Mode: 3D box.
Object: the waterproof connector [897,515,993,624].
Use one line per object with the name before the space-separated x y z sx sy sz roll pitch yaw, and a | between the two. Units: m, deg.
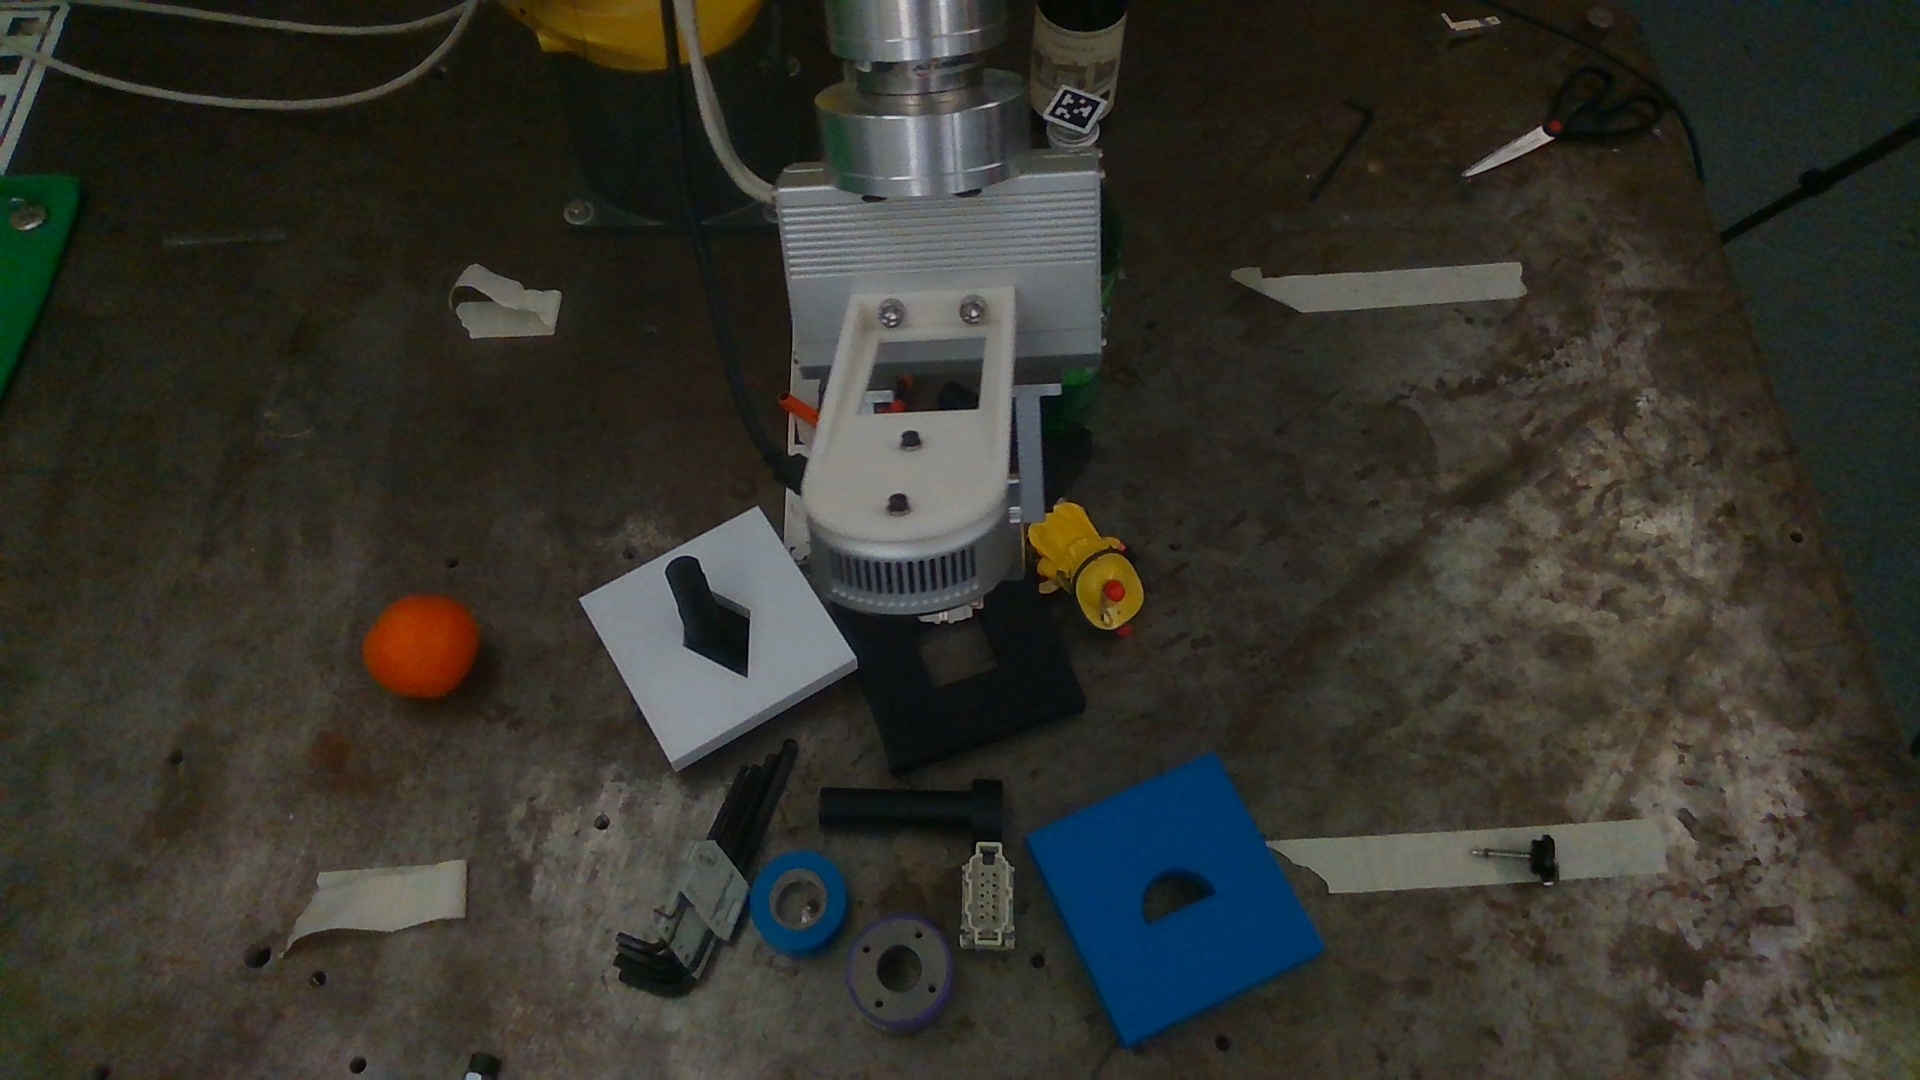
waterproof connector | -0.006 0.012 0.621 0.037 0.069 0.038 -3 102 7
